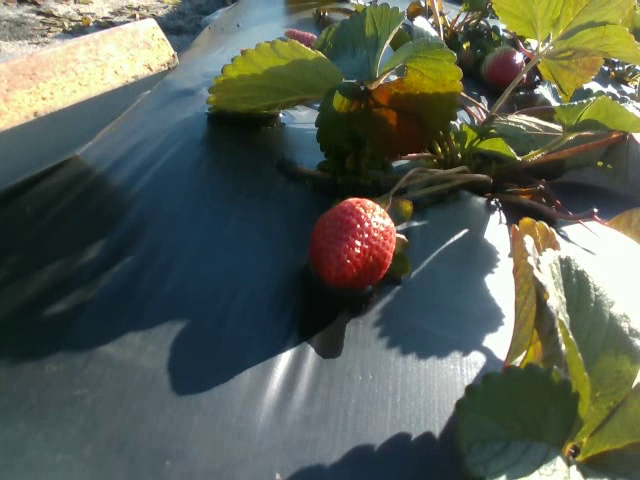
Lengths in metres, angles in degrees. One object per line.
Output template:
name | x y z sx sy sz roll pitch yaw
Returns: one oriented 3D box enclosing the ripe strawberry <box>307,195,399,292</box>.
ripe strawberry | 0.013 0.003 0.244 0.044 0.044 0.064 -26 15 23
